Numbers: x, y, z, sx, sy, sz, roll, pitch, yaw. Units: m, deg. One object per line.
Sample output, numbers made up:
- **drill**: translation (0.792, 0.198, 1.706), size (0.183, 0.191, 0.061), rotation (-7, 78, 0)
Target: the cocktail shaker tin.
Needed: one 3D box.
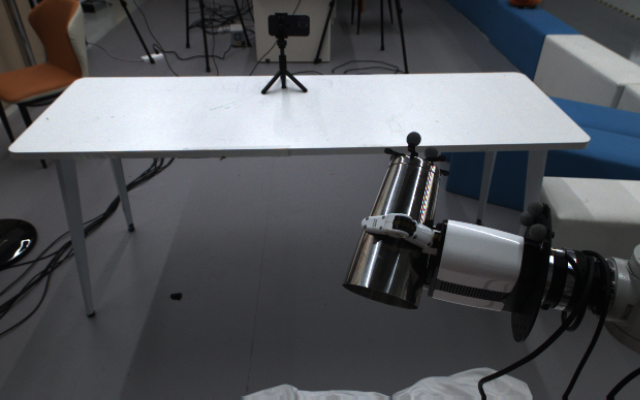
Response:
- **cocktail shaker tin**: translation (0.096, 0.037, 0.589), size (0.093, 0.093, 0.170), rotation (14, 73, 17)
